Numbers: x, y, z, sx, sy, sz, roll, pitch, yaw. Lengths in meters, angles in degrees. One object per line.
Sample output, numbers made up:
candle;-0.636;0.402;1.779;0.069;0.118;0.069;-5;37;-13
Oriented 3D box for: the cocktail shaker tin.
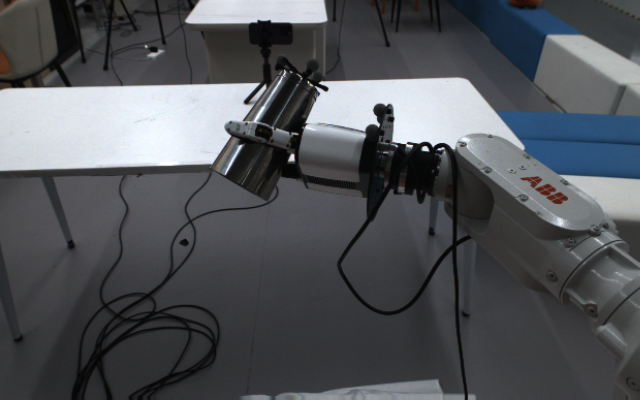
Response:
cocktail shaker tin;-0.072;-0.098;0.684;0.093;0.093;0.170;26;83;30
